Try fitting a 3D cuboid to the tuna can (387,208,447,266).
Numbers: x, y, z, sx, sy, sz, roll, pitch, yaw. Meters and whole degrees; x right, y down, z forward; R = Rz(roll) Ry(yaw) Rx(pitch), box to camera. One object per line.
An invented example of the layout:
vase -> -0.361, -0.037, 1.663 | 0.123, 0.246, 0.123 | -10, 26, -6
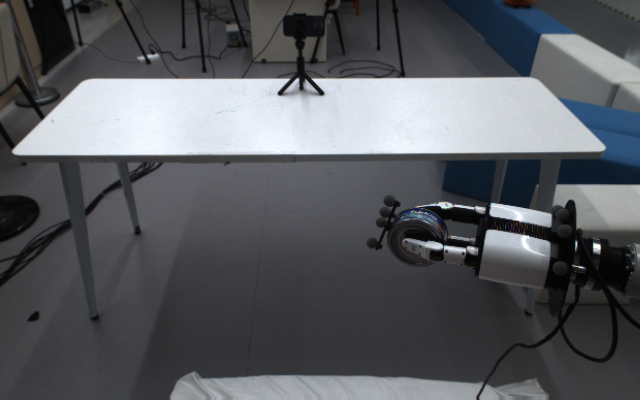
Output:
tuna can -> 0.146, 0.054, 0.713 | 0.085, 0.085, 0.034 | 12, 30, 14
